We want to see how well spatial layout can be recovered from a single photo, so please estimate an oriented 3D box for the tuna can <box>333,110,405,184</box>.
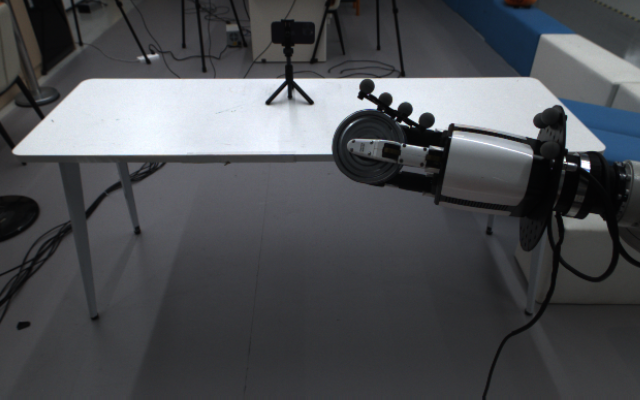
[{"bbox_3d":[0.062,-0.055,0.560,0.085,0.085,0.034,13,4,15],"label":"tuna can"}]
